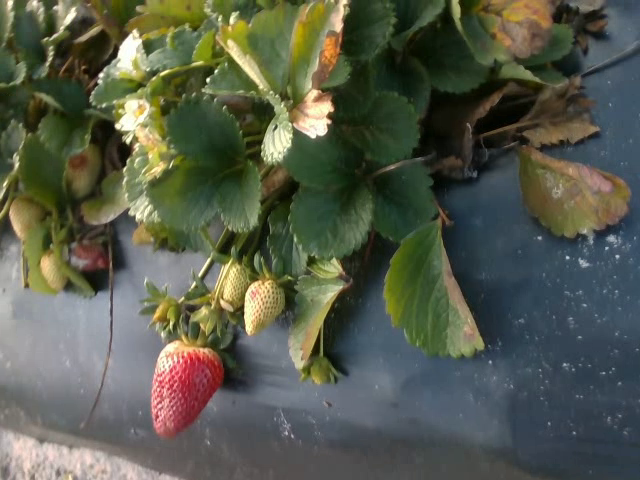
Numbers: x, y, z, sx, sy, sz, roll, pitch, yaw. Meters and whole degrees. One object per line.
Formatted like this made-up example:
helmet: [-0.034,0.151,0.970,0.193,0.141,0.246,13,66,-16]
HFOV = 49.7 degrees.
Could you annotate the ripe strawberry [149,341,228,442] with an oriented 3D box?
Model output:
ripe strawberry: [-0.100,0.106,0.493,0.052,0.068,0.044,6,-19,27]
